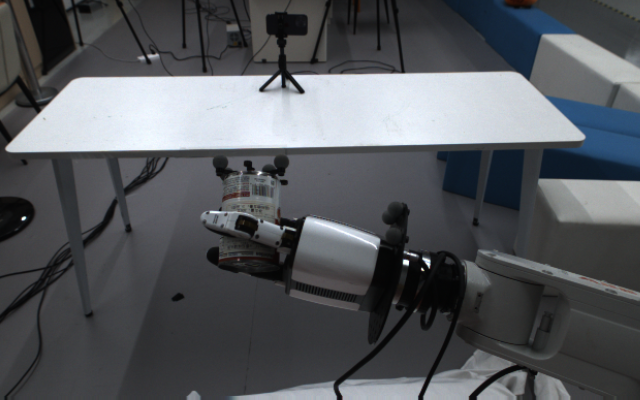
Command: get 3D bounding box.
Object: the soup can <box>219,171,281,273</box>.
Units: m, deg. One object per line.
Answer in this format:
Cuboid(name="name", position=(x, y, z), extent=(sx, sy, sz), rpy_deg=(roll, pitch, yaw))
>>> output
Cuboid(name="soup can", position=(-0.076, 0.027, 0.540), extent=(0.067, 0.067, 0.101), rpy_deg=(1, 73, -2))
